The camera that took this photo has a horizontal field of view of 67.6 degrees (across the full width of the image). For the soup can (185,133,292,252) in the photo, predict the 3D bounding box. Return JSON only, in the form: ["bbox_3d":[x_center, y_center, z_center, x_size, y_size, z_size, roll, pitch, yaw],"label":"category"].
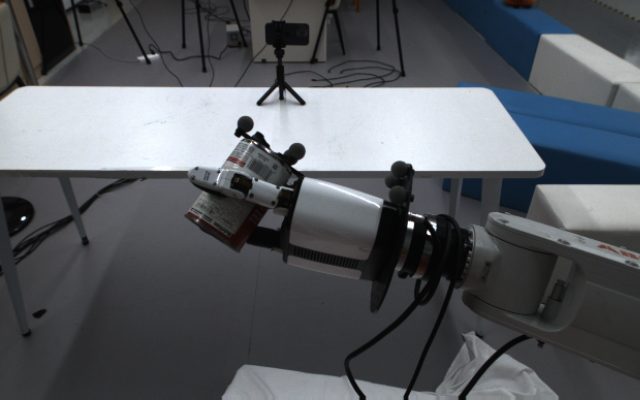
[{"bbox_3d":[-0.083,-0.006,0.510,0.067,0.067,0.101,26,76,31],"label":"soup can"}]
